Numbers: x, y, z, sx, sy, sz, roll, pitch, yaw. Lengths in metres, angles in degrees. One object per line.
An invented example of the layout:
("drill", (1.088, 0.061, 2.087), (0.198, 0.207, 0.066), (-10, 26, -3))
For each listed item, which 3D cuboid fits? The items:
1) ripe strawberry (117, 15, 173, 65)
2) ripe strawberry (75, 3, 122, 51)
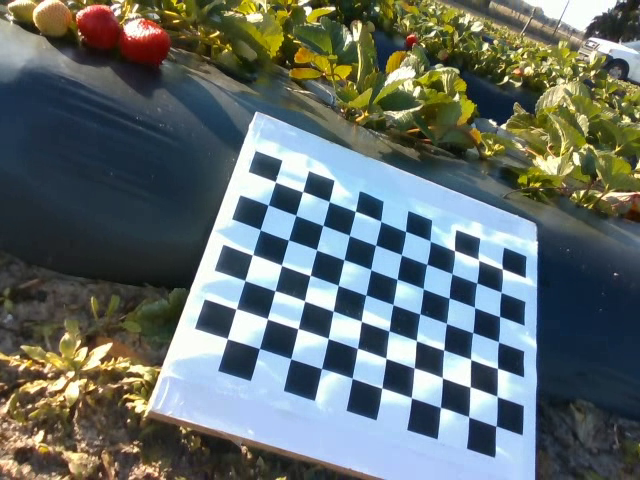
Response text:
("ripe strawberry", (-0.162, -0.190, 0.596), (0.056, 0.052, 0.067), (-30, 23, -32))
("ripe strawberry", (-0.214, -0.204, 0.590), (0.050, 0.044, 0.061), (42, 11, 1))
